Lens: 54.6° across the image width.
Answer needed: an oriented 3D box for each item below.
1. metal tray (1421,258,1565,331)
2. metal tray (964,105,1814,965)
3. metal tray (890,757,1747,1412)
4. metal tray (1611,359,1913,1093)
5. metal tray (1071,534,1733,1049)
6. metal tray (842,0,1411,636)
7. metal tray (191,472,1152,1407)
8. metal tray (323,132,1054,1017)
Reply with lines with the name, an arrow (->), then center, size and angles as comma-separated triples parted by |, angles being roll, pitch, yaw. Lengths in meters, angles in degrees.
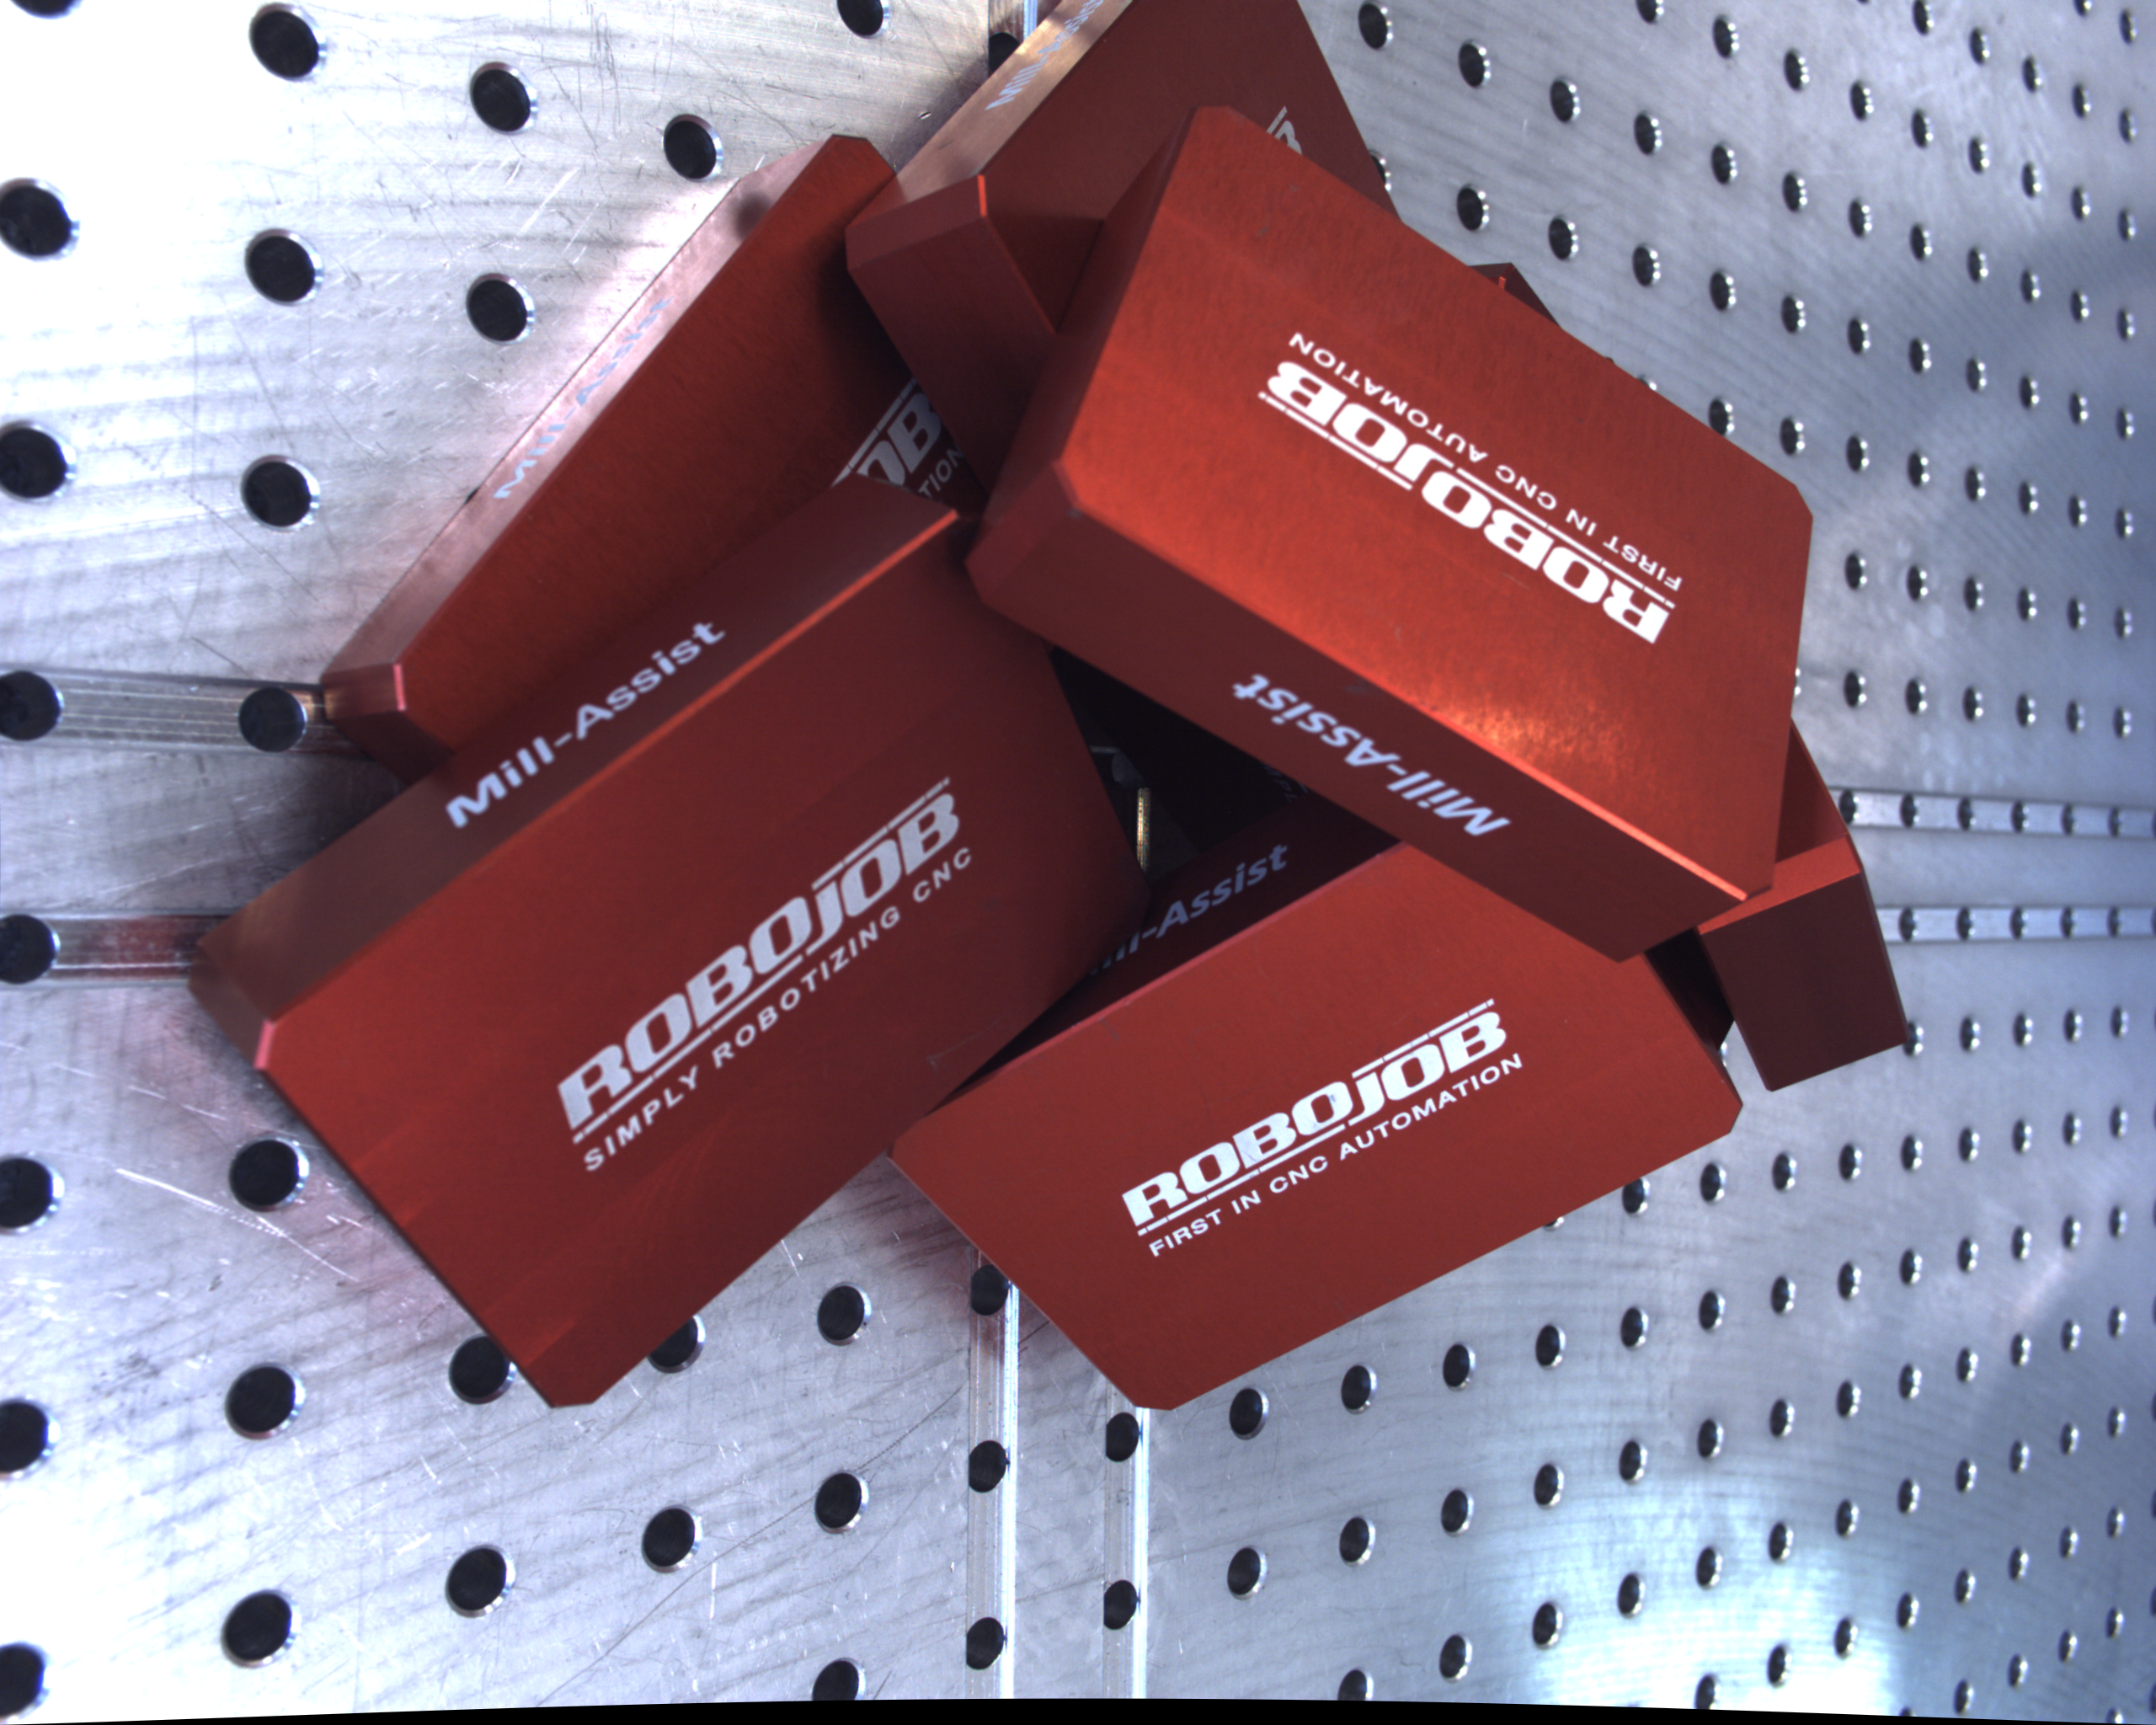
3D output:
metal tray -> 0.094, -0.063, 0.454 | 0.131, 0.030, 0.090 | 19, 77, -59
metal tray -> 0.056, -0.052, 0.337 | 0.131, 0.030, 0.090 | 28, 57, -16
metal tray -> 0.043, 0.041, 0.383 | 0.090, 0.130, 0.030 | 51, 18, -29
metal tray -> 0.126, -0.028, 0.428 | 0.090, 0.030, 0.130 | 46, 25, -53
metal tray -> 0.068, -0.008, 0.424 | 0.130, 0.090, 0.030 | 51, 60, -27
metal tray -> 0.018, -0.114, 0.395 | 0.090, 0.030, 0.130 | 56, 44, -27
metal tray -> -0.056, 0.011, 0.329 | 0.131, 0.030, 0.090 | -40, 131, -20
metal tray -> -0.052, -0.049, 0.360 | 0.090, 0.030, 0.130 | 46, 62, -30
